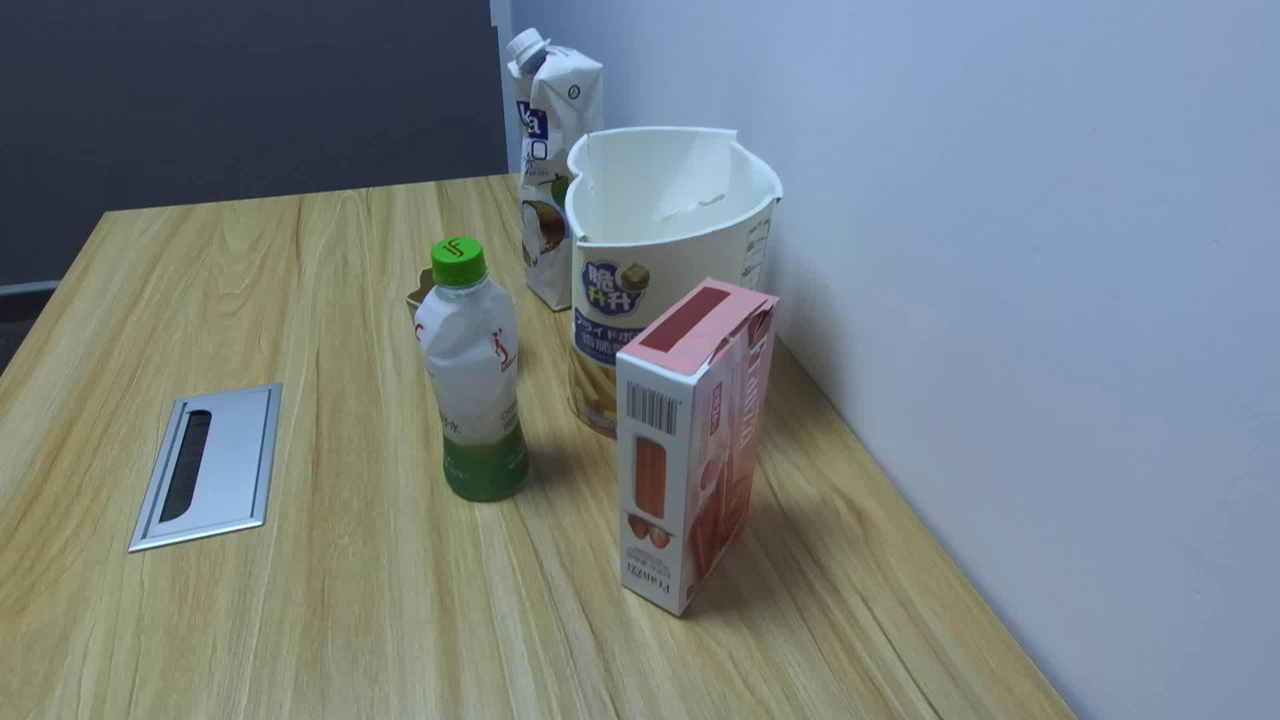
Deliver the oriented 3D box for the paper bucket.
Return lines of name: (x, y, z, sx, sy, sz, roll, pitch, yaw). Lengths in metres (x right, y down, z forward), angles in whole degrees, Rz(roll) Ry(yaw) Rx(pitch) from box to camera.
paper bucket: (0.017, -0.058, 0.557, 0.146, 0.197, 0.202, -3, 37, -7)

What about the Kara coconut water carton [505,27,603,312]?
Kara coconut water carton: (-0.075, -0.176, 0.660, 0.078, 0.256, 0.083, -12, 41, -14)

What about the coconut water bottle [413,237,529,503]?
coconut water bottle: (-0.113, 0.009, 0.475, 0.069, 0.186, 0.069, 0, 38, 0)

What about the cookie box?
cookie box: (0.035, 0.052, 0.424, 0.048, 0.188, 0.105, 22, 42, 25)
